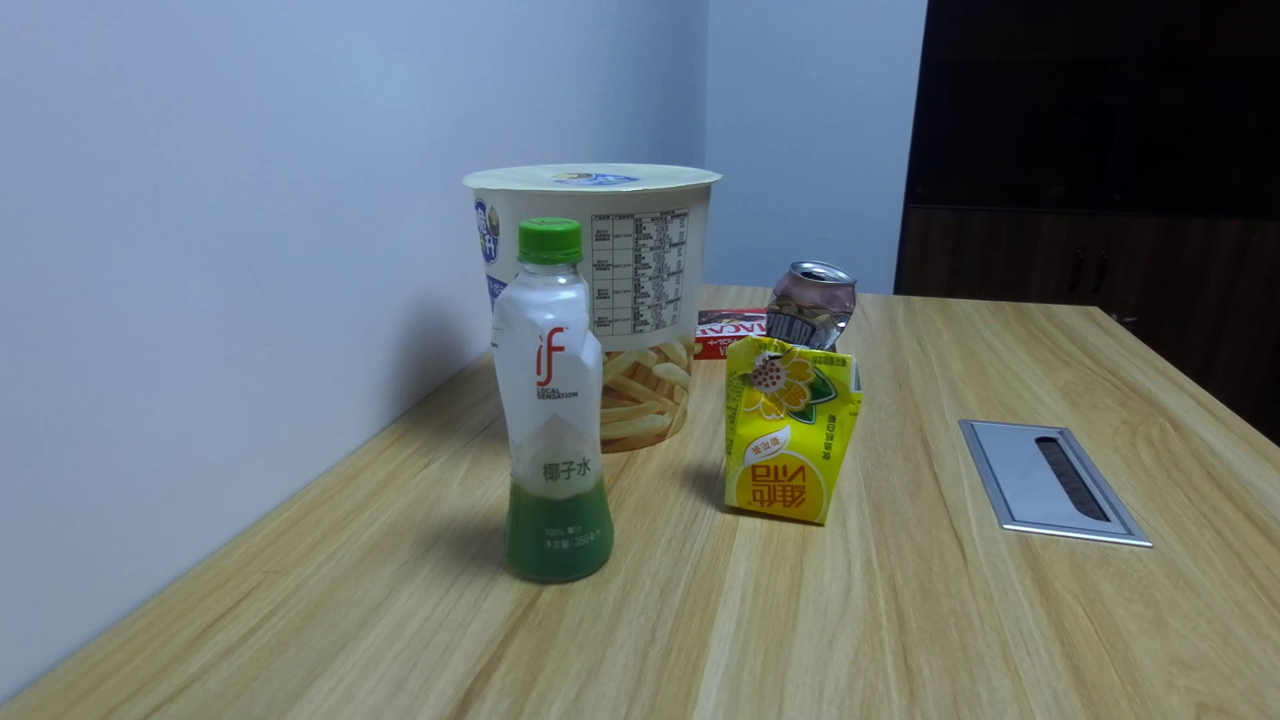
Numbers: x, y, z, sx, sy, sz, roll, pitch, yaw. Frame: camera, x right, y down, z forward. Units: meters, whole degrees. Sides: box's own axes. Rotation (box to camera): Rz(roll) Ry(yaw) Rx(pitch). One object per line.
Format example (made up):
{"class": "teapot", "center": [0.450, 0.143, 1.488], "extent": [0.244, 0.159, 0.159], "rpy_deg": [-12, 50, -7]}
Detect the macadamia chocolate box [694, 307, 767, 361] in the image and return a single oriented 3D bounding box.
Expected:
{"class": "macadamia chocolate box", "center": [0.061, -0.029, 0.757], "extent": [0.183, 0.028, 0.105], "rpy_deg": [-1, 20, -1]}

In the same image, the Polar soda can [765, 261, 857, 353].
{"class": "Polar soda can", "center": [0.144, -0.015, 0.581], "extent": [0.067, 0.121, 0.070], "rpy_deg": [-5, 18, -34]}

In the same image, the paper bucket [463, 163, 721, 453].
{"class": "paper bucket", "center": [-0.034, -0.046, 0.552], "extent": [0.198, 0.194, 0.198], "rpy_deg": [0, 21, 0]}

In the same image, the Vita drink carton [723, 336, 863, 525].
{"class": "Vita drink carton", "center": [0.092, 0.040, 0.446], "extent": [0.087, 0.108, 0.042], "rpy_deg": [9, 10, 13]}

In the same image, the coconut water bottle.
{"class": "coconut water bottle", "center": [-0.045, 0.022, 0.373], "extent": [0.069, 0.186, 0.069], "rpy_deg": [1, 21, 0]}
